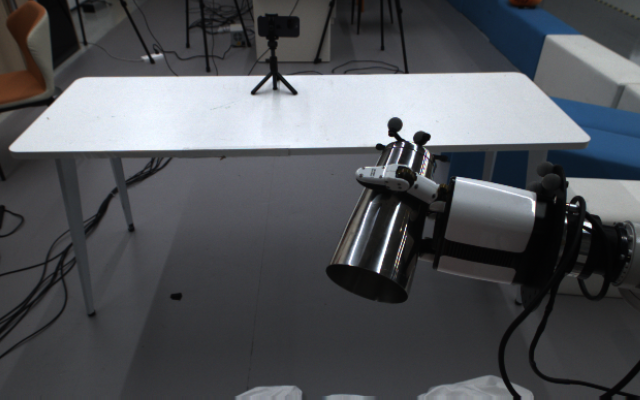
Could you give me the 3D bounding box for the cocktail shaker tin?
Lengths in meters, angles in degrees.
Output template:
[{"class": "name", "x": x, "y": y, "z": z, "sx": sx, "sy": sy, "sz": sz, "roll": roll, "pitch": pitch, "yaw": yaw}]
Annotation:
[{"class": "cocktail shaker tin", "x": 0.080, "y": 0.019, "z": 0.545, "sx": 0.093, "sy": 0.093, "sz": 0.170, "roll": 14, "pitch": 62, "yaw": 17}]
